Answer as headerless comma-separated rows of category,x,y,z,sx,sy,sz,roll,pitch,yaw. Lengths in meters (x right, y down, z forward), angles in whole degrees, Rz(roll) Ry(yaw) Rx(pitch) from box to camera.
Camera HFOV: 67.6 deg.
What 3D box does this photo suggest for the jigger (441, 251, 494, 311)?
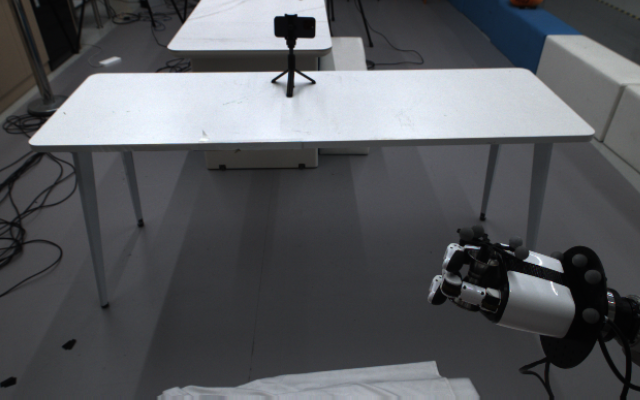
jigger,0.202,0.103,0.633,0.043,0.071,0.043,15,17,-5
